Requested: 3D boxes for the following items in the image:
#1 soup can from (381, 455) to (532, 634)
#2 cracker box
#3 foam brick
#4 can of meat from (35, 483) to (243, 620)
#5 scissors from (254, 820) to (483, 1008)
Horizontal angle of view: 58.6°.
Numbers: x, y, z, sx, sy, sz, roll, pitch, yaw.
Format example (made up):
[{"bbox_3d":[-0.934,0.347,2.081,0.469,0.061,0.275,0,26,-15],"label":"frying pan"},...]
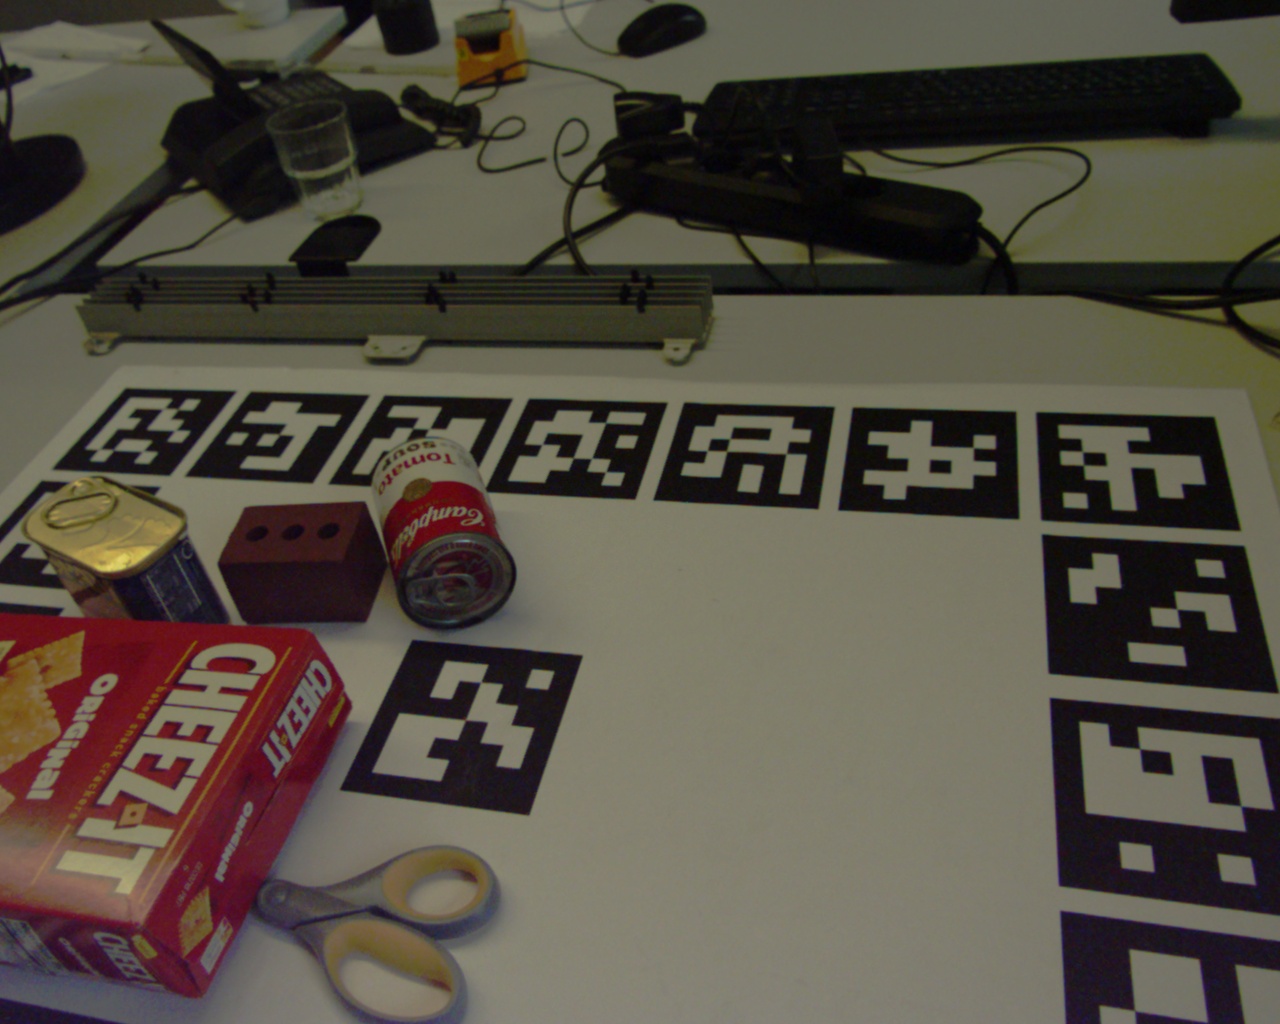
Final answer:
[{"bbox_3d":[-0.115,0.018,0.700,0.067,0.067,0.103,-23,39,-12],"label":"soup can"},{"bbox_3d":[-0.281,0.134,0.580,0.215,0.071,0.164,-4,43,14],"label":"cracker box"},{"bbox_3d":[-0.200,0.033,0.704,0.078,0.051,0.053,-5,44,8],"label":"foam brick"},{"bbox_3d":[-0.302,0.038,0.695,0.103,0.083,0.057,14,49,24],"label":"can of meat"},{"bbox_3d":[-0.172,0.186,0.546,0.204,0.016,0.088,-1,45,12],"label":"scissors"}]
